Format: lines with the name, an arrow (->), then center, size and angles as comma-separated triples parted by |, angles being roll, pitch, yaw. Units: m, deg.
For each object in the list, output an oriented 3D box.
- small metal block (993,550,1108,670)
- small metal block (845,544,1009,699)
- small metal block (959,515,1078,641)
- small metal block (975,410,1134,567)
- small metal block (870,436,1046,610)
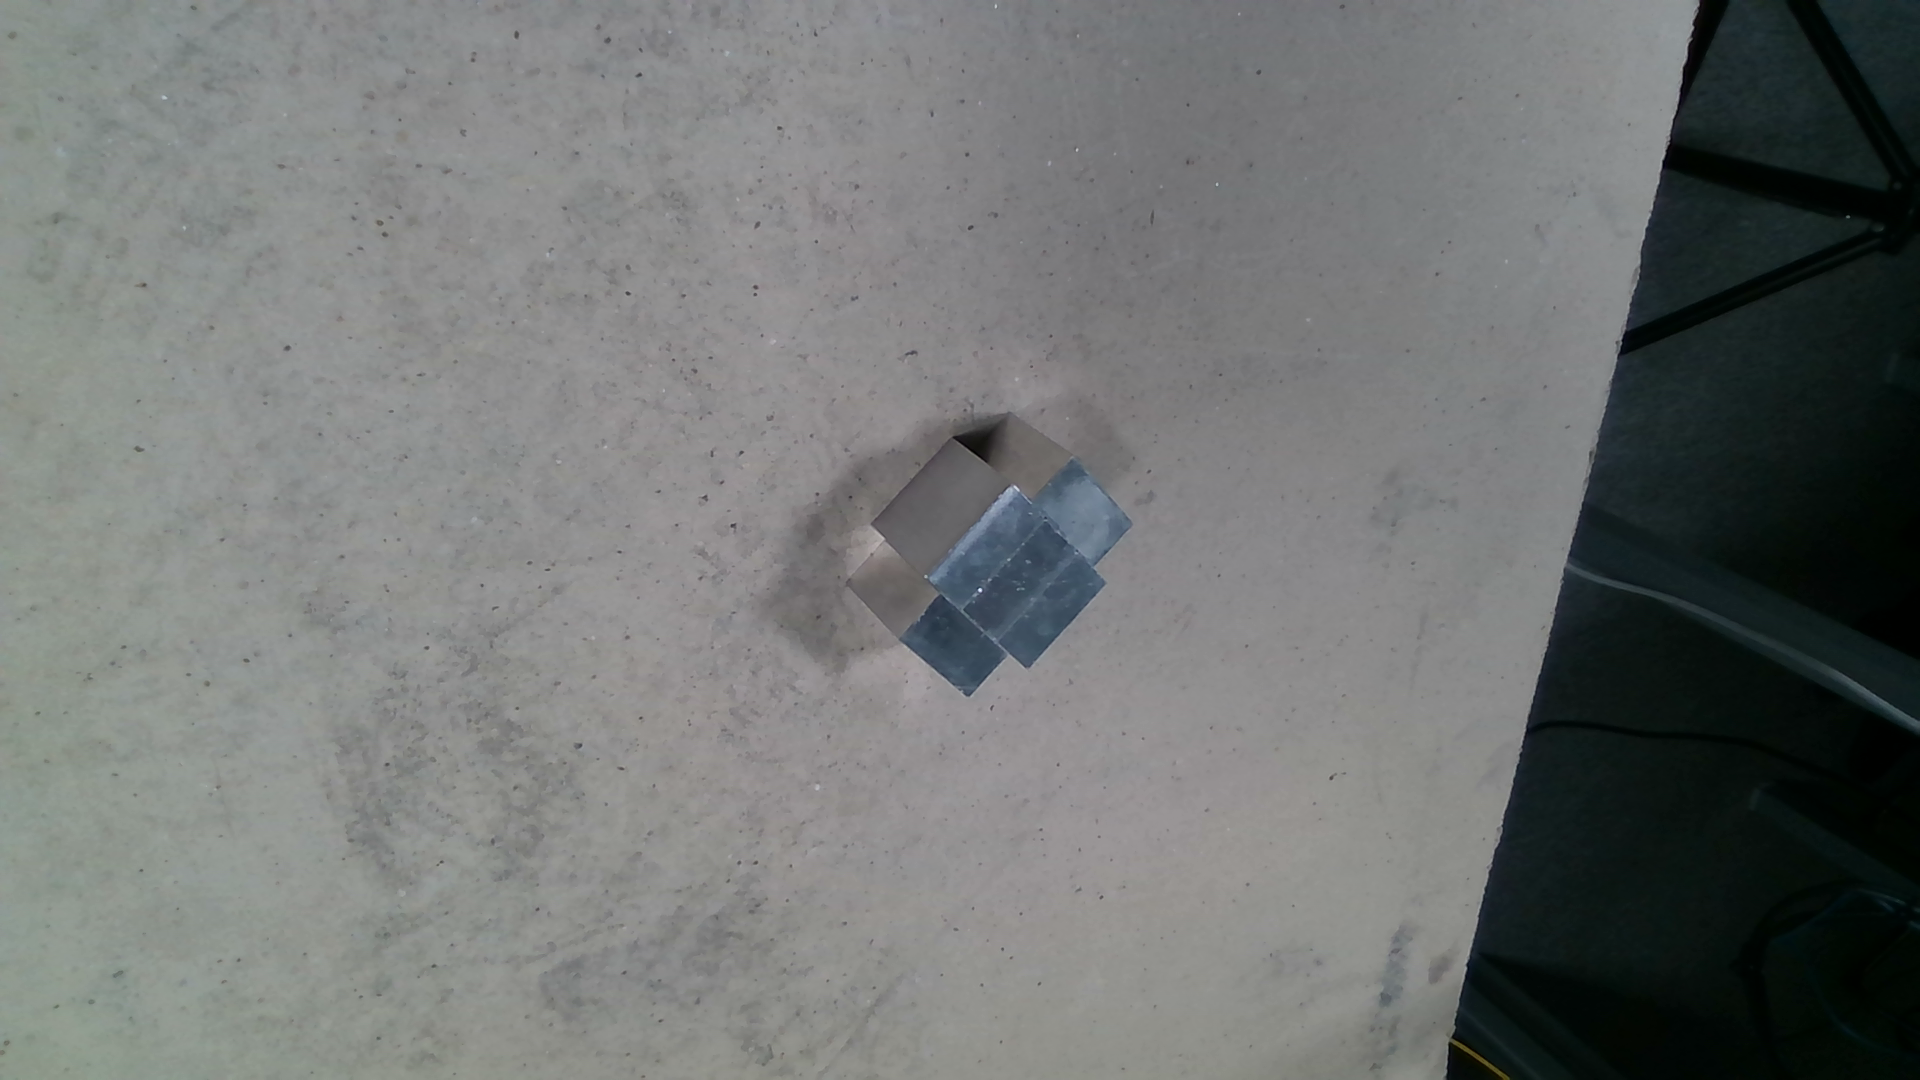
small metal block -> 0.026, 0.019, 0.591 | 0.050, 0.050, 0.025 | -48, 129, 0
small metal block -> -0.014, 0.033, 0.573 | 0.025, 0.050, 0.050 | -47, 129, -1
small metal block -> 0.013, 0.006, 0.575 | 0.050, 0.050, 0.025 | -47, 129, -1
small metal block -> 0.038, -0.022, 0.576 | 0.025, 0.050, 0.050 | -47, 129, -1
small metal block -> -0.002, -0.008, 0.559 | 0.050, 0.050, 0.025 | -47, 129, -1
